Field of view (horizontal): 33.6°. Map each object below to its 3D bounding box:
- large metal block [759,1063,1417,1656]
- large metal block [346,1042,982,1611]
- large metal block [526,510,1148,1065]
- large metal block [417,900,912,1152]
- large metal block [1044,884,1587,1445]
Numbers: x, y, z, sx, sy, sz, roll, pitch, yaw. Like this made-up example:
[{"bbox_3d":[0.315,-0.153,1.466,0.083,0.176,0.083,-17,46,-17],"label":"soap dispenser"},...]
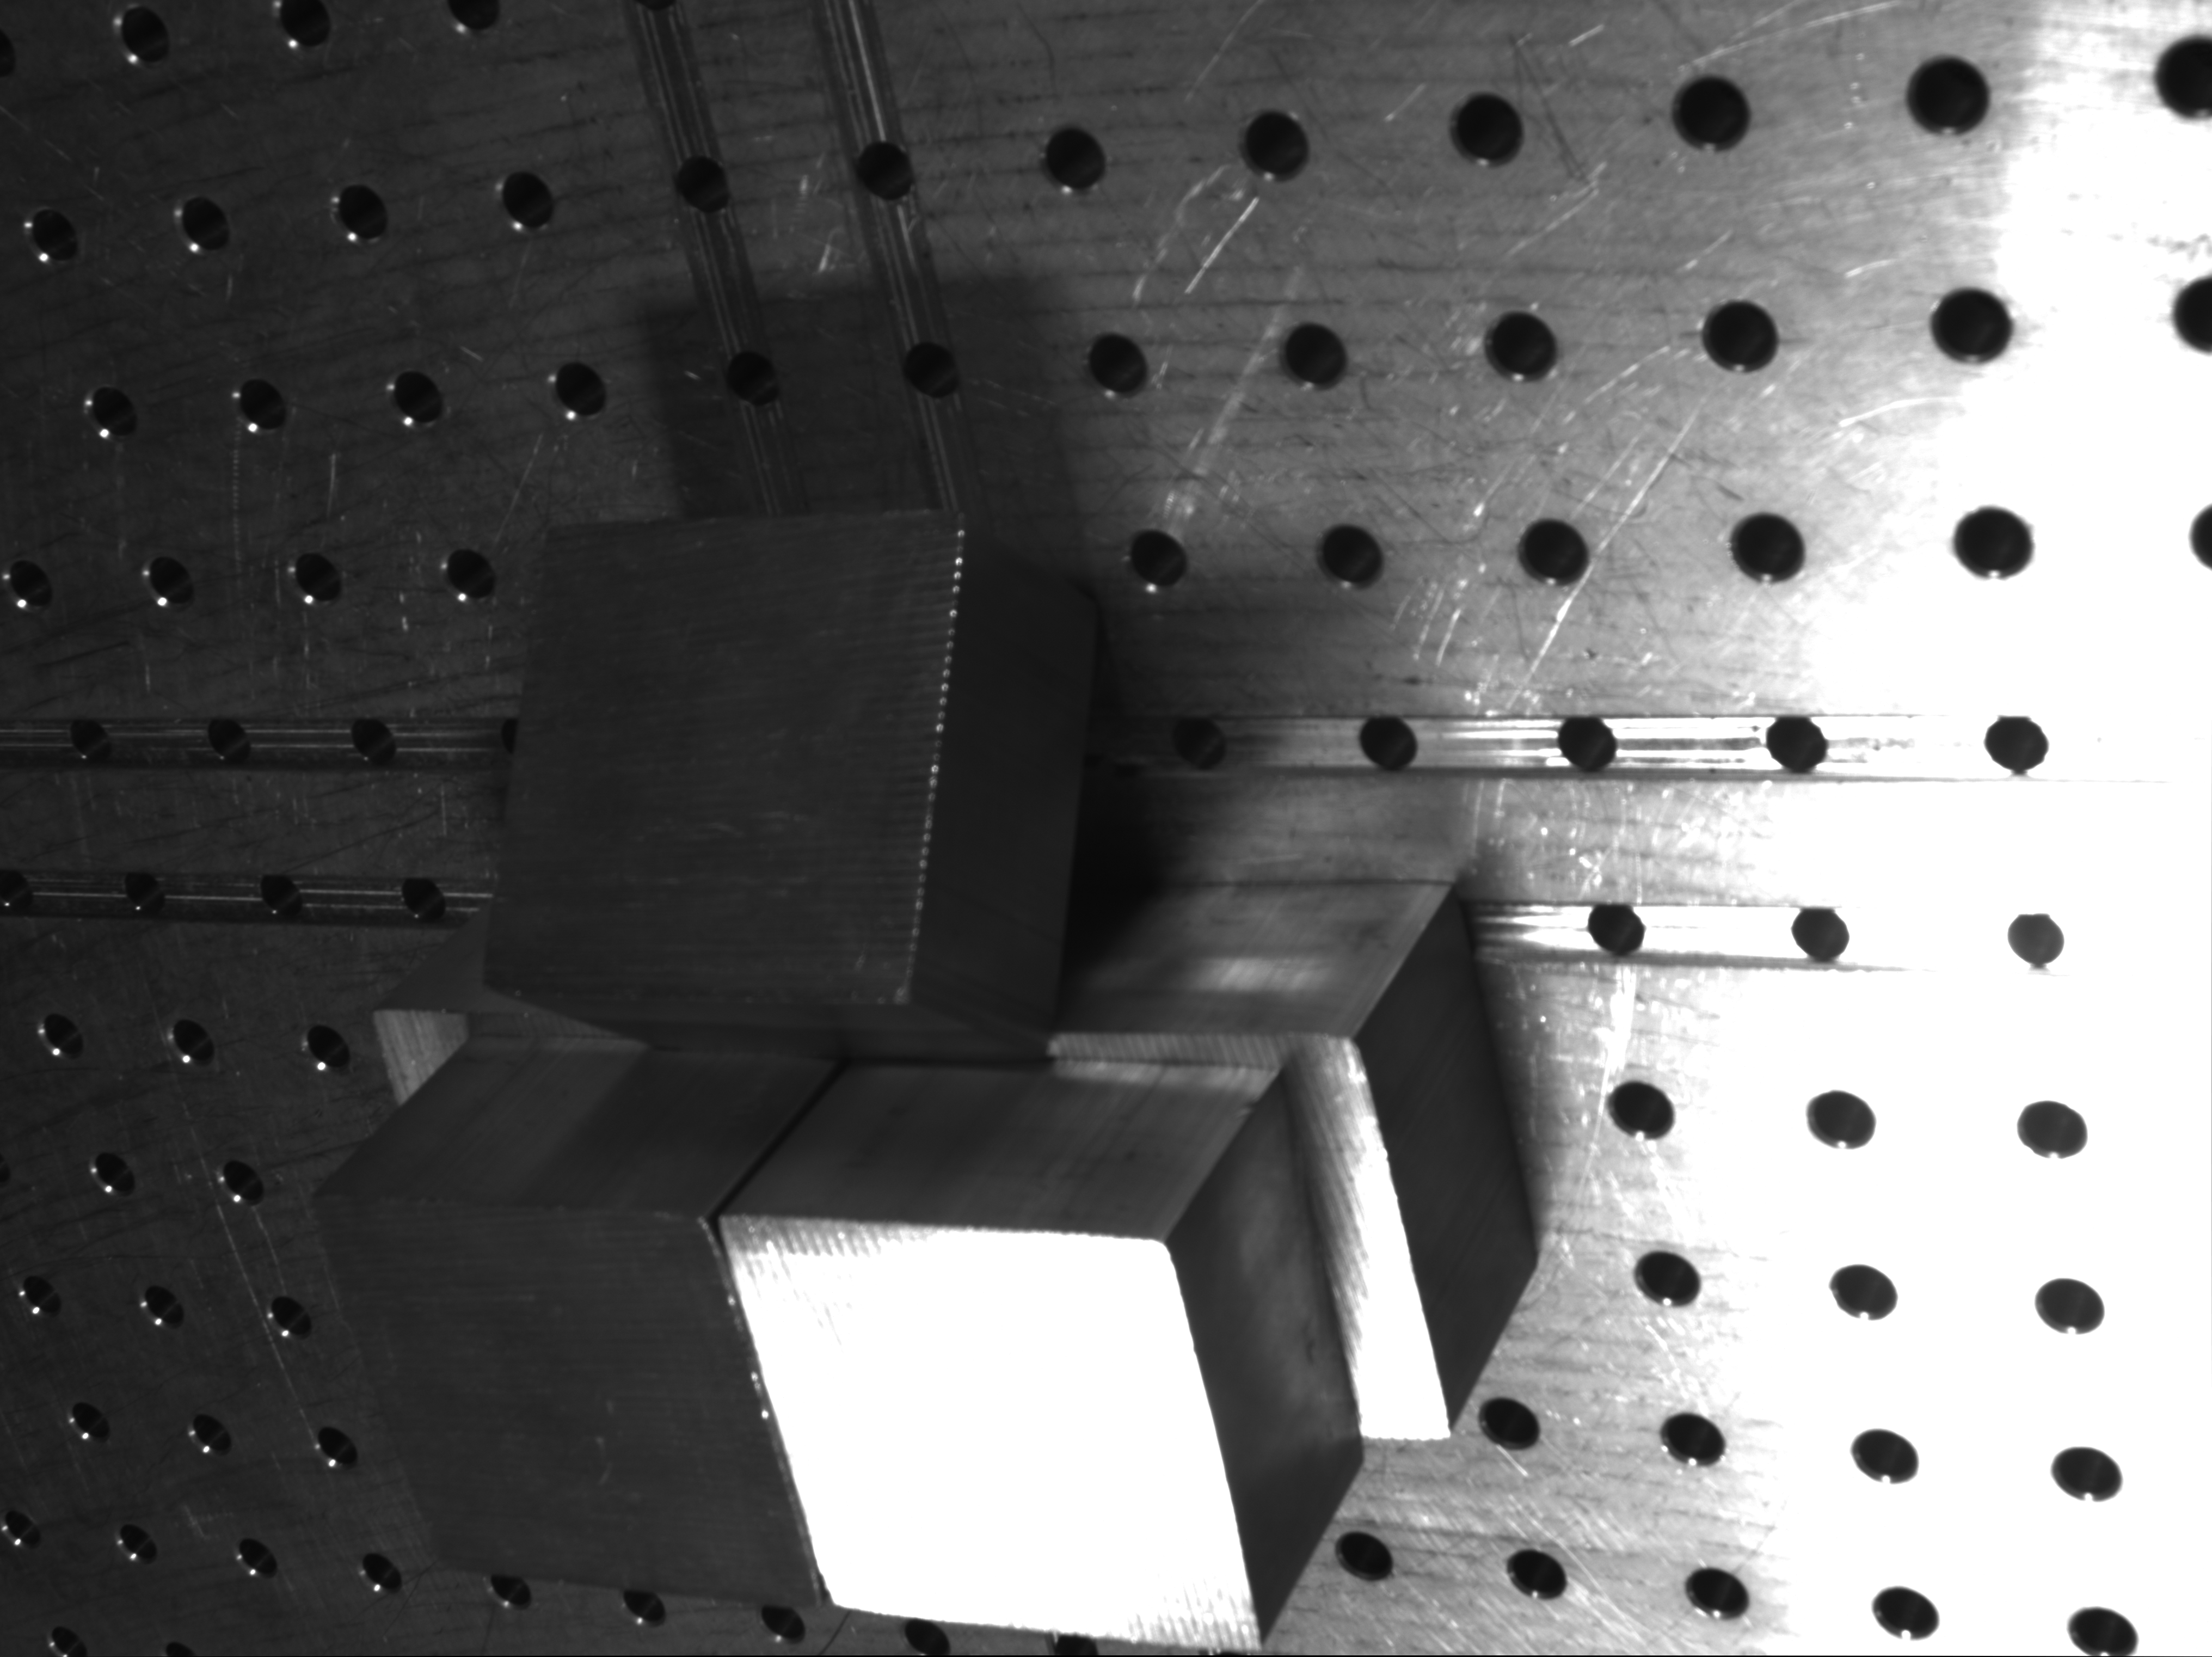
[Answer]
[{"bbox_3d":[-0.001,0.087,0.605,0.080,0.050,0.080,0,118,27],"label":"large metal block"},{"bbox_3d":[-0.075,0.085,0.640,0.080,0.050,0.080,0,118,27],"label":"large metal block"},{"bbox_3d":[-0.044,-0.006,0.611,0.080,0.050,0.080,0,76,26],"label":"large metal block"},{"bbox_3d":[-0.073,0.057,0.689,0.080,0.050,0.080,1,119,26],"label":"large metal block"},{"bbox_3d":[0.031,0.057,0.636,0.080,0.050,0.080,-1,118,27],"label":"large metal block"}]
